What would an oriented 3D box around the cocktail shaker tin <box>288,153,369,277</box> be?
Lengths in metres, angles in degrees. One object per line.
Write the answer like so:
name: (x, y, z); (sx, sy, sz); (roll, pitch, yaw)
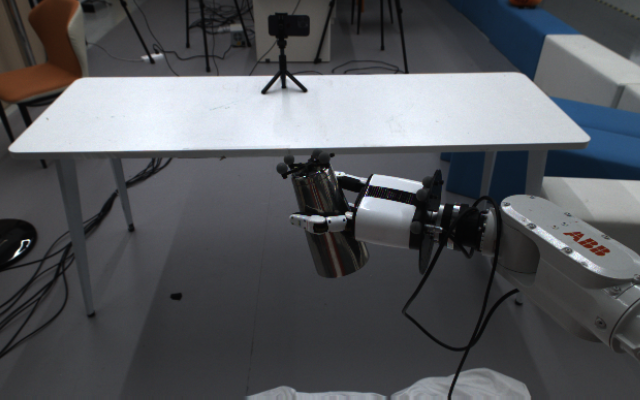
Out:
cocktail shaker tin: (0.011, 0.028, 0.773); (0.093, 0.170, 0.093); (-17, 20, 7)
